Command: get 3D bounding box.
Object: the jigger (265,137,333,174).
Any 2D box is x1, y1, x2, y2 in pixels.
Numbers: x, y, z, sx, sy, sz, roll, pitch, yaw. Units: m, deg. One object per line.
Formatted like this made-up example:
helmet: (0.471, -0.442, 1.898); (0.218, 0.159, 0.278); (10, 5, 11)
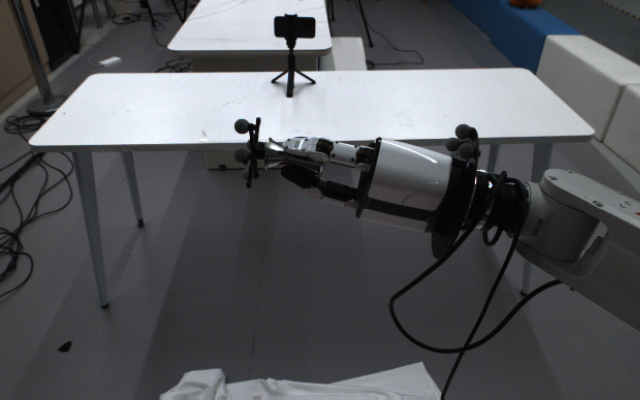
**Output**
jigger: (-0.023, -0.057, 0.593); (0.071, 0.043, 0.043); (5, 35, 2)
